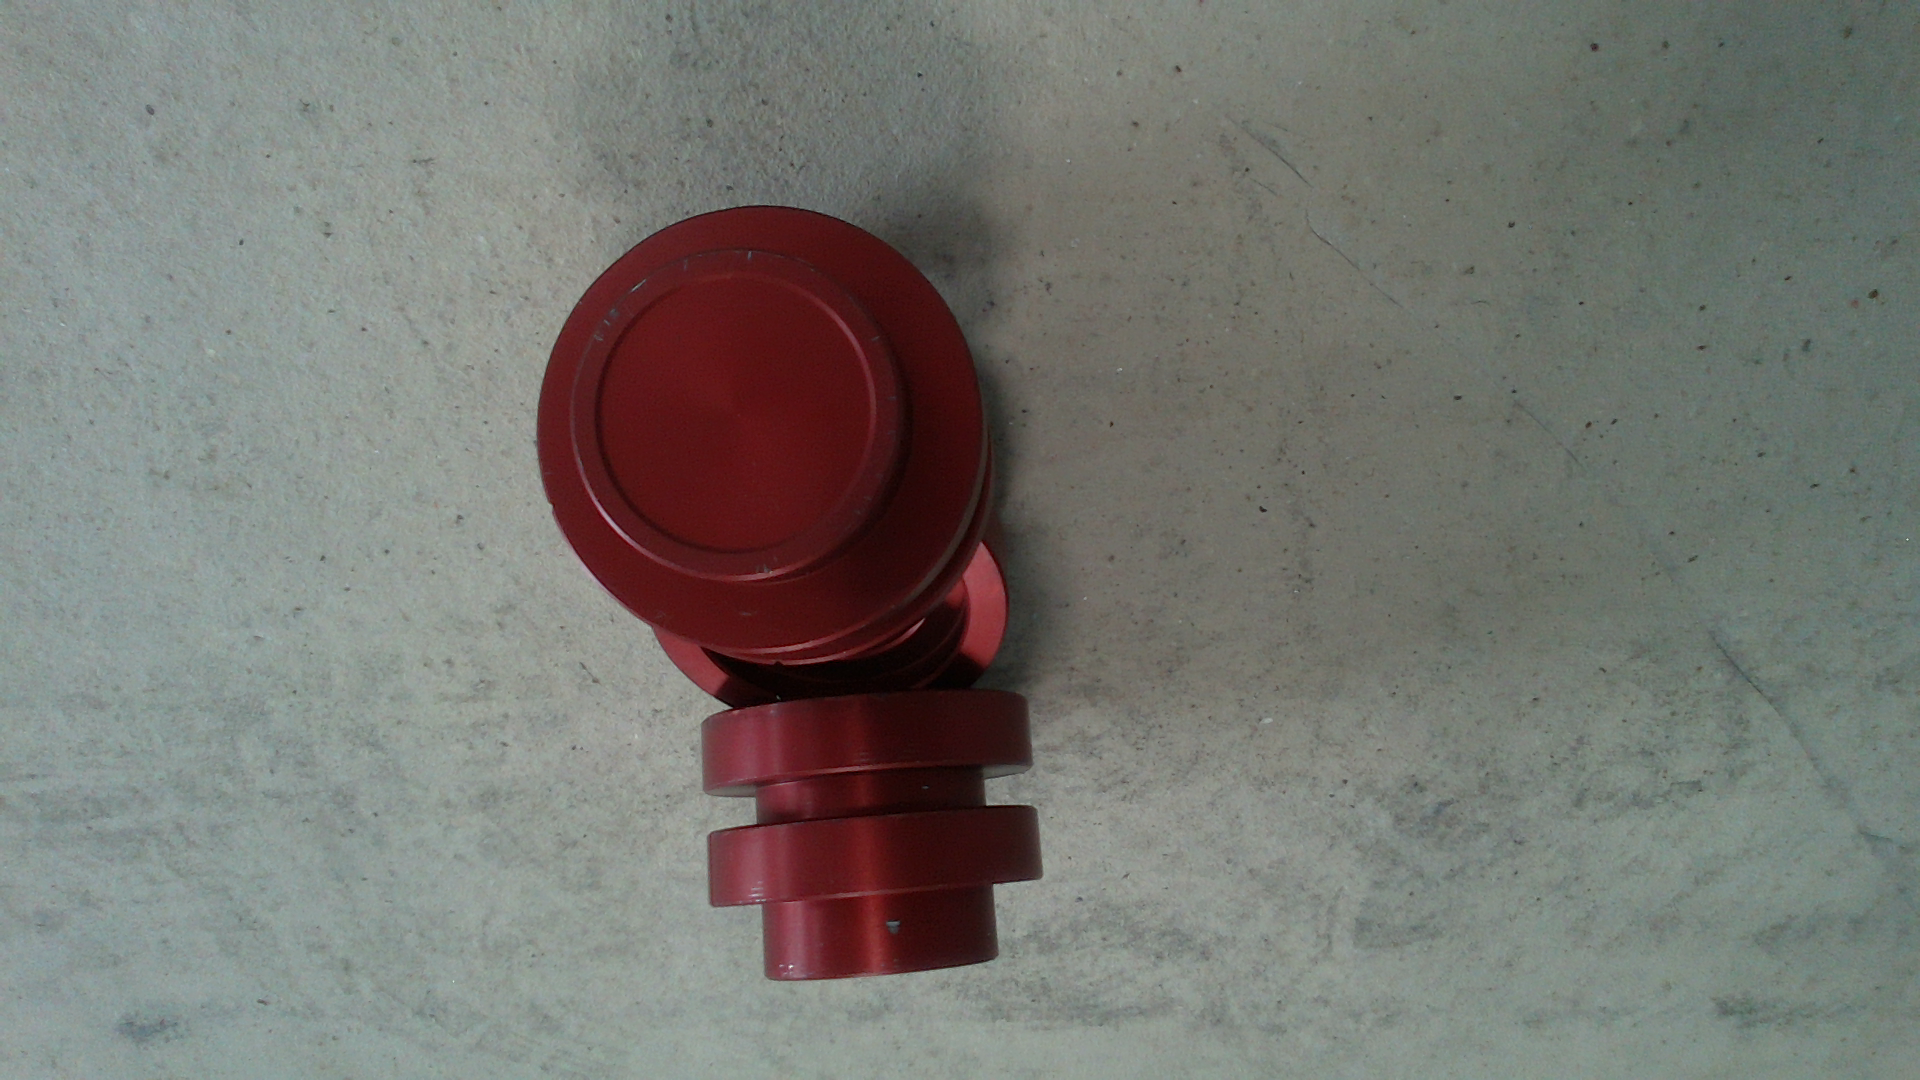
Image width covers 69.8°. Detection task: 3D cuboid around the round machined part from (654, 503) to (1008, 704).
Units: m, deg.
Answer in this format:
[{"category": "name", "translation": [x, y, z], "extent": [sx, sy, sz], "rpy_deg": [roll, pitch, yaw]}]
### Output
[{"category": "round machined part", "translation": [-0.036, 0.005, 0.384], "extent": [0.098, 0.042, 0.098], "rpy_deg": [0, 130, 0]}]

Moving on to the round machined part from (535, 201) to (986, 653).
[{"category": "round machined part", "translation": [-0.044, -0.025, 0.295], "extent": [0.098, 0.042, 0.098], "rpy_deg": [0, 87, 4]}]

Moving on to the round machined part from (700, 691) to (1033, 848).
[{"category": "round machined part", "translation": [-0.027, 0.072, 0.408], "extent": [0.098, 0.042, 0.098], "rpy_deg": [-4, 167, -1]}]

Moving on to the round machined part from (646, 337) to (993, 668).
[{"category": "round machined part", "translation": [-0.042, -0.019, 0.327], "extent": [0.098, 0.042, 0.098], "rpy_deg": [0, 87, 4]}]

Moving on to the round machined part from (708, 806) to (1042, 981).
[{"category": "round machined part", "translation": [-0.024, 0.104, 0.404], "extent": [0.098, 0.042, 0.098], "rpy_deg": [-4, 166, -1]}]
